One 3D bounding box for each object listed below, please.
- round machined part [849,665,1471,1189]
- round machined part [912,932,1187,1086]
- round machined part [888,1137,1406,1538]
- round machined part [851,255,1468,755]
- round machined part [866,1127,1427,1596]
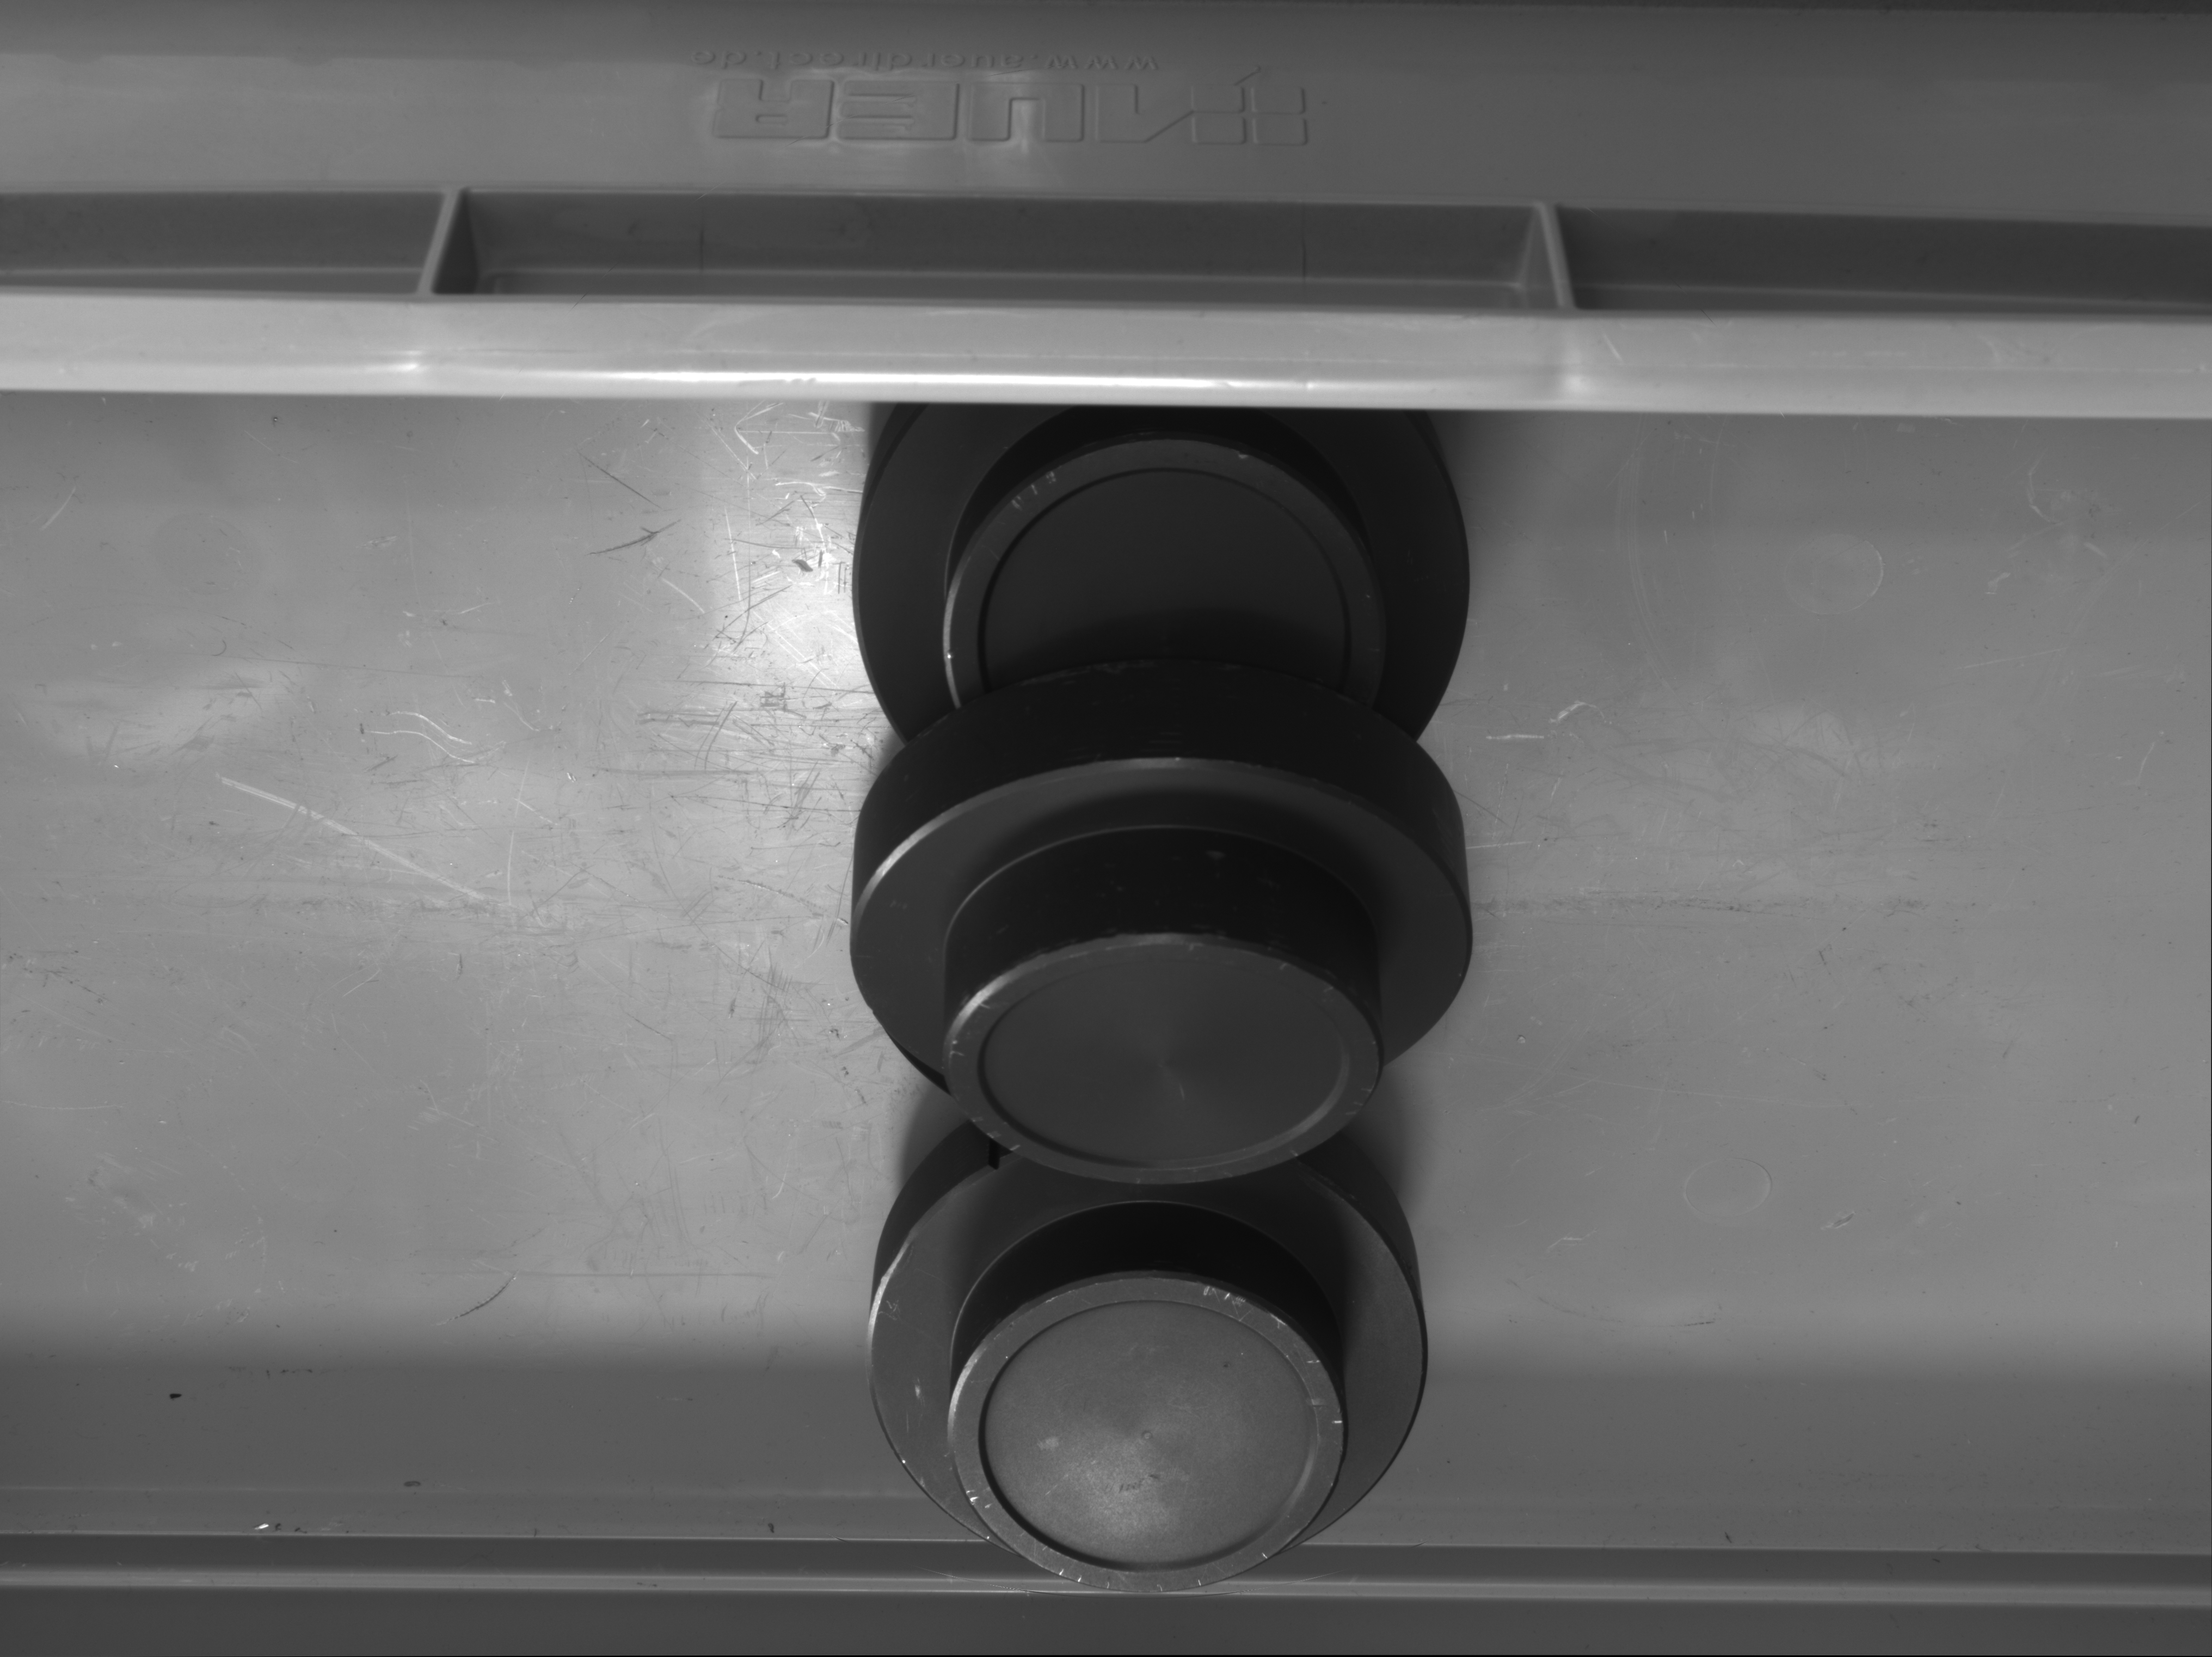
[{"bbox_3d":[0.009,0.021,0.577,0.098,0.042,0.098,0,142,0],"label":"round machined part"},{"bbox_3d":[0.005,0.022,0.645,0.098,0.042,0.098,0,129,0],"label":"round machined part"},{"bbox_3d":[0.008,0.101,0.693,0.098,0.042,0.098,0,145,0],"label":"round machined part"},{"bbox_3d":[0.008,-0.038,0.581,0.098,0.042,0.098,0,114,0],"label":"round machined part"},{"bbox_3d":[0.007,0.094,0.639,0.098,0.042,0.098,0,119,0],"label":"round machined part"}]
